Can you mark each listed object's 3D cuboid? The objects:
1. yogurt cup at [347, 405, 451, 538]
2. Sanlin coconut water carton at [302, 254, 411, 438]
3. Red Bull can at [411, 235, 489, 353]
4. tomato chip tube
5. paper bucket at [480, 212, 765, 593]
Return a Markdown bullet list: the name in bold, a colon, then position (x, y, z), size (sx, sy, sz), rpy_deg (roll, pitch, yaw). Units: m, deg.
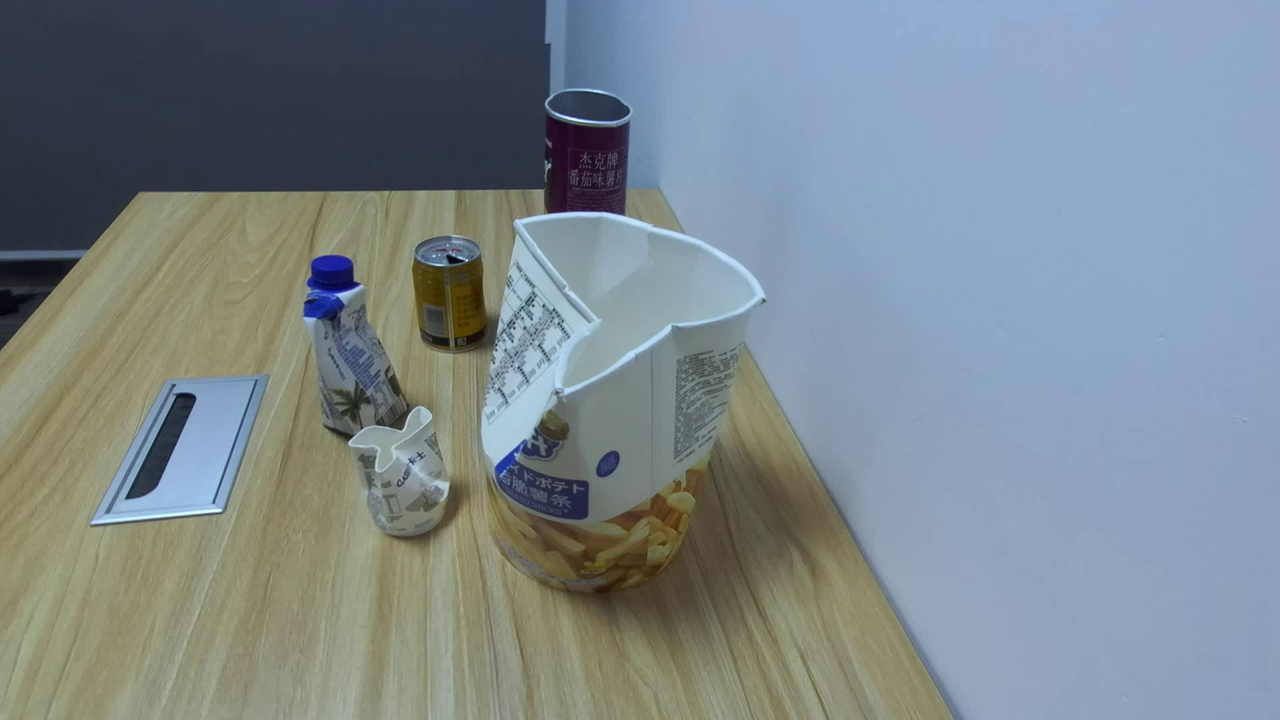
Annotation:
- **yogurt cup**: position (-0.165, 0.079, 0.493), size (0.055, 0.072, 0.055), rpy_deg (-26, 45, -33)
- **Sanlin coconut water carton**: position (-0.232, -0.006, 0.542), size (0.056, 0.145, 0.068), rpy_deg (10, 42, 20)
- **Red Bull can**: position (-0.174, -0.059, 0.661), size (0.068, 0.093, 0.068), rpy_deg (1, 28, 0)
- **tomato chip tube**: position (-0.049, -0.105, 0.616), size (0.076, 0.234, 0.080), rpy_deg (19, 37, 17)
- **paper bucket**: position (-0.035, 0.027, 0.473), size (0.170, 0.202, 0.162), rpy_deg (-23, 44, -37)
